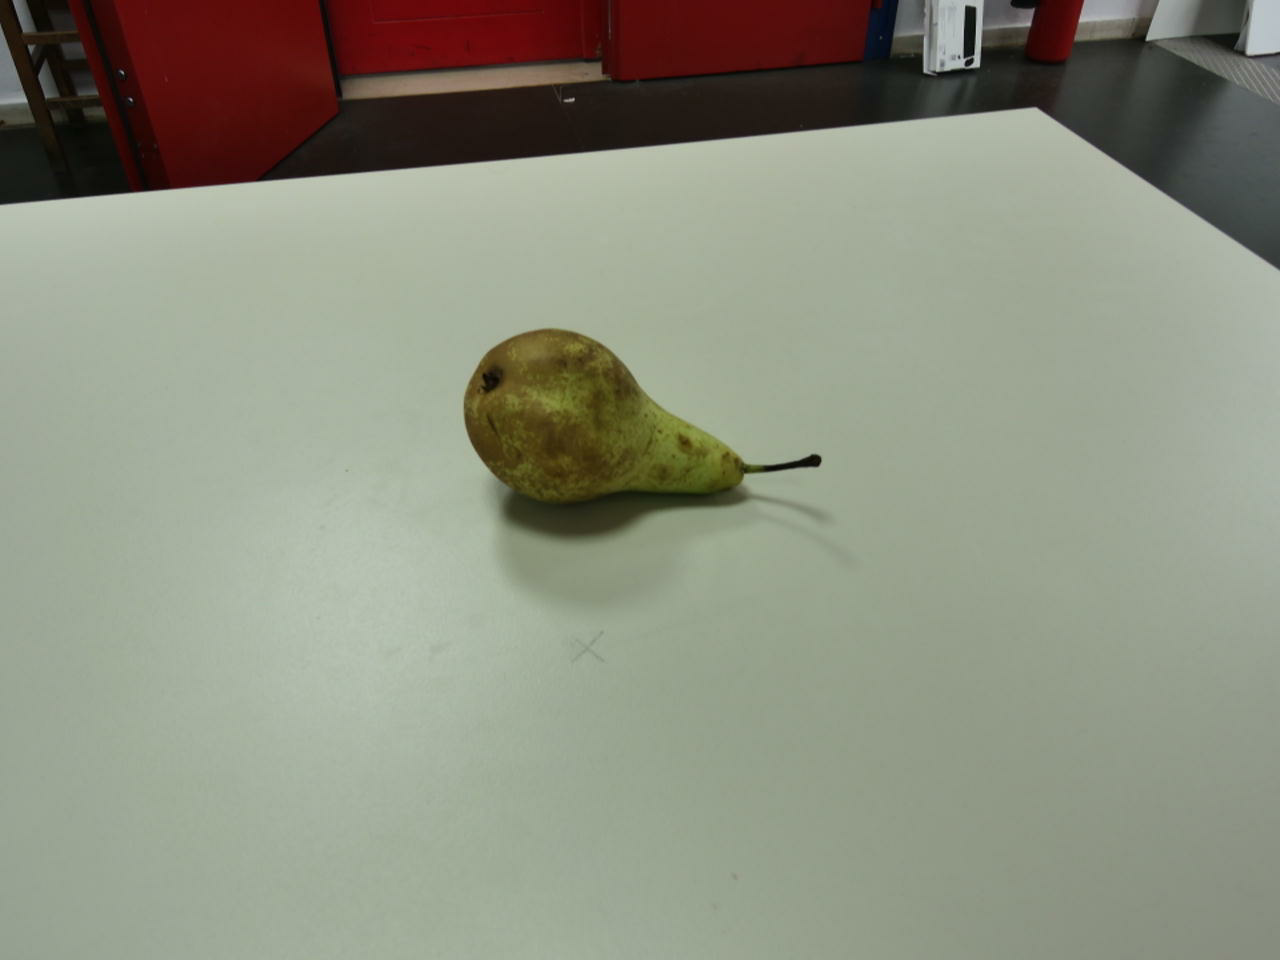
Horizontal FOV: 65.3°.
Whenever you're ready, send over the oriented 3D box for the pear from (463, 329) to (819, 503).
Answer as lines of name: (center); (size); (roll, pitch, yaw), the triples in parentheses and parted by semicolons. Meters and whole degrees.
pear: (-0.001, -0.029, 0.422); (0.144, 0.075, 0.071); (-4, 39, -5)
